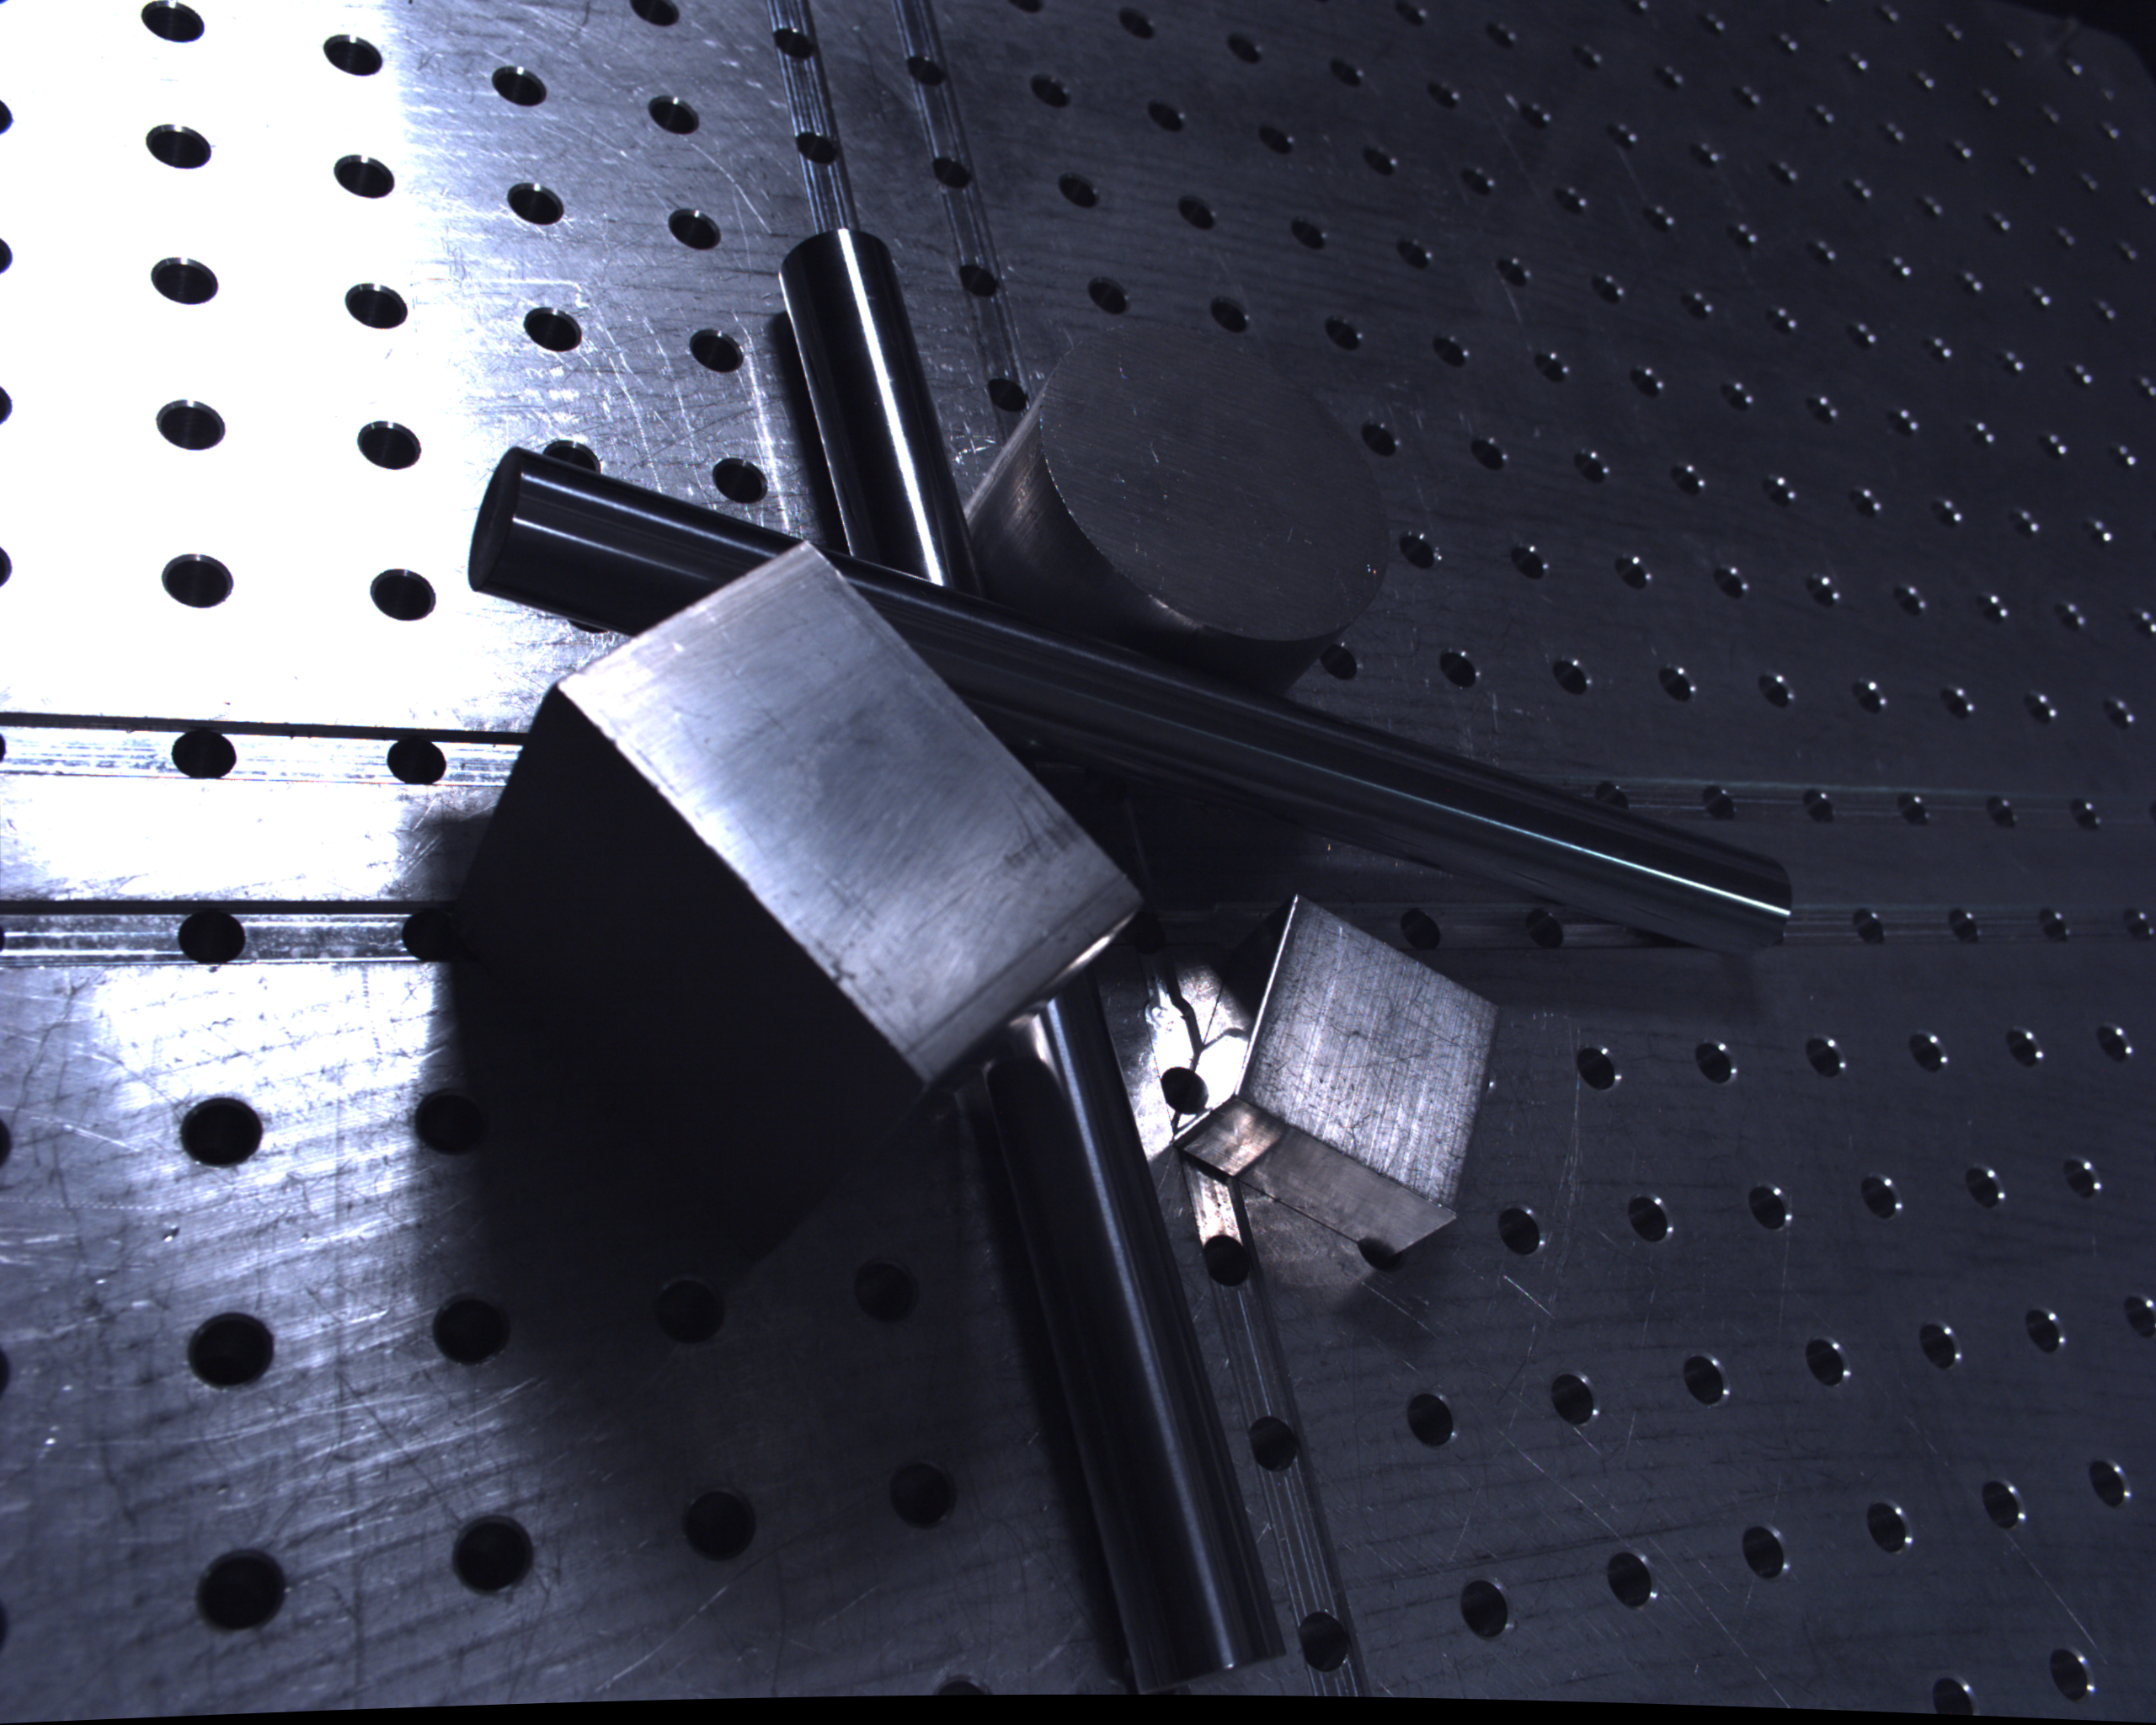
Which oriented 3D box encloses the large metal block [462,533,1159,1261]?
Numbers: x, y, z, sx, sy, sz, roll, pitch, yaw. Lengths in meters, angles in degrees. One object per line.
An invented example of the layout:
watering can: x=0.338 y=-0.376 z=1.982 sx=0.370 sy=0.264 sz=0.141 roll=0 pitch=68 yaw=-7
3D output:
large metal block: x=-0.047 y=0.008 z=0.342 sx=0.080 sy=0.080 sz=0.050 roll=46 pitch=51 yaw=4

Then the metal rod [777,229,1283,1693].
metal rod: x=-0.016 y=0.001 z=0.400 sx=0.025 sy=0.025 sz=0.299 roll=-2 pitch=63 yaw=-29

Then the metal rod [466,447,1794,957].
metal rod: x=0.031 y=-0.023 z=0.416 sx=0.302 sy=0.025 sz=0.025 roll=15 pitch=56 yaw=-29

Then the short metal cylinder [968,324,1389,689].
short metal cylinder: x=0.018 y=-0.067 z=0.444 sx=0.081 sy=0.050 sz=0.080 roll=14 pitch=56 yaw=-21

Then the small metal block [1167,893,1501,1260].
small metal block: x=0.051 y=0.042 z=0.413 sx=0.050 sy=0.025 sz=0.050 roll=29 pitch=52 yaw=-10
